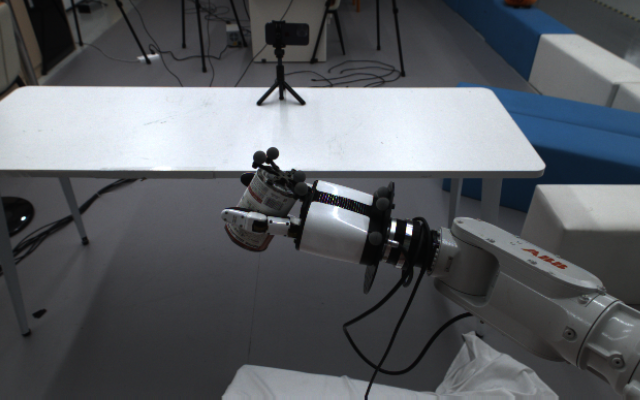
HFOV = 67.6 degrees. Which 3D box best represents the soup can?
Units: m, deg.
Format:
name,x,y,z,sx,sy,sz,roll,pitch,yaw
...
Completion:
name,x,y,z,sx,sy,sz,roll,pitch,yaw
soup can,-0.078,0.013,0.666,0.067,0.101,0.067,28,22,-12
